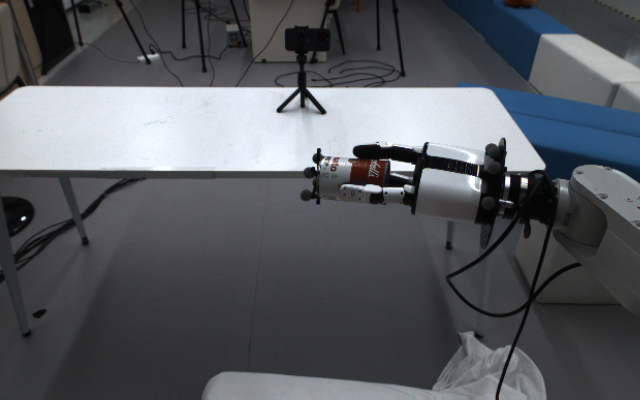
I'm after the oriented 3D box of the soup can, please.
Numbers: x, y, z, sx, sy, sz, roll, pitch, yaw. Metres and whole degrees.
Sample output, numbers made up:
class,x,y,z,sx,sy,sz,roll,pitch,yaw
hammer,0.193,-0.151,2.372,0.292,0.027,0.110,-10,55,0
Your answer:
class,x,y,z,sx,sy,sz,roll,pitch,yaw
soup can,0.053,-0.030,0.732,0.101,0.067,0.067,6,35,13
